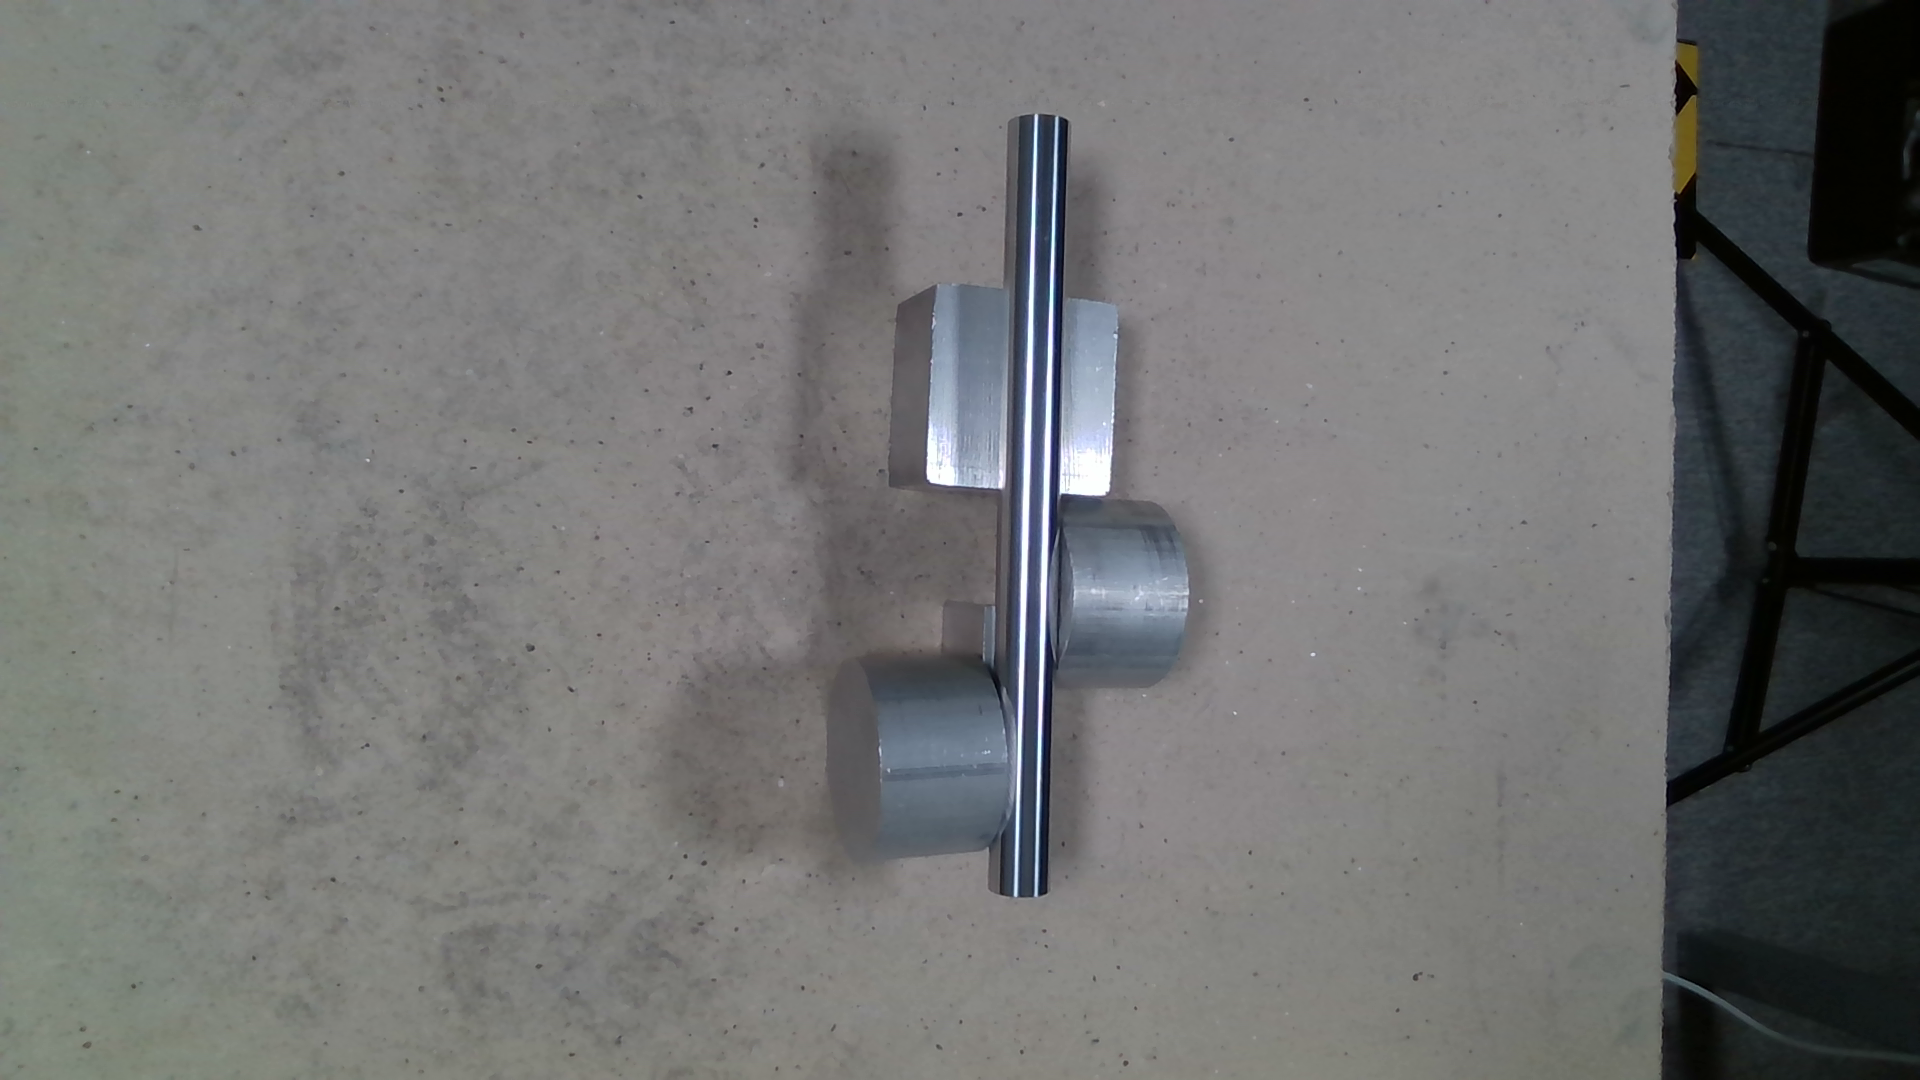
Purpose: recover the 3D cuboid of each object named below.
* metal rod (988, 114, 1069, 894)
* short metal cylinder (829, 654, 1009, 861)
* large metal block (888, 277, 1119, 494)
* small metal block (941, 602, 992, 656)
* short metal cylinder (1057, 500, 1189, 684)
[{"bbox_3d":[0.027,-0.013,0.541,0.025,0.025,0.300,1,91,-20],"label":"metal rod"},{"bbox_3d":[-0.019,0.086,0.550,0.050,0.080,0.080,0,90,-20],"label":"short metal cylinder"},{"bbox_3d":[0.017,-0.061,0.576,0.080,0.050,0.080,3,89,-20],"label":"large metal block"},{"bbox_3d":[0.012,0.052,0.576,0.025,0.050,0.050,1,90,-20],"label":"small metal block"},{"bbox_3d":[0.054,0.022,0.578,0.050,0.080,0.080,2,89,-20],"label":"short metal cylinder"}]
